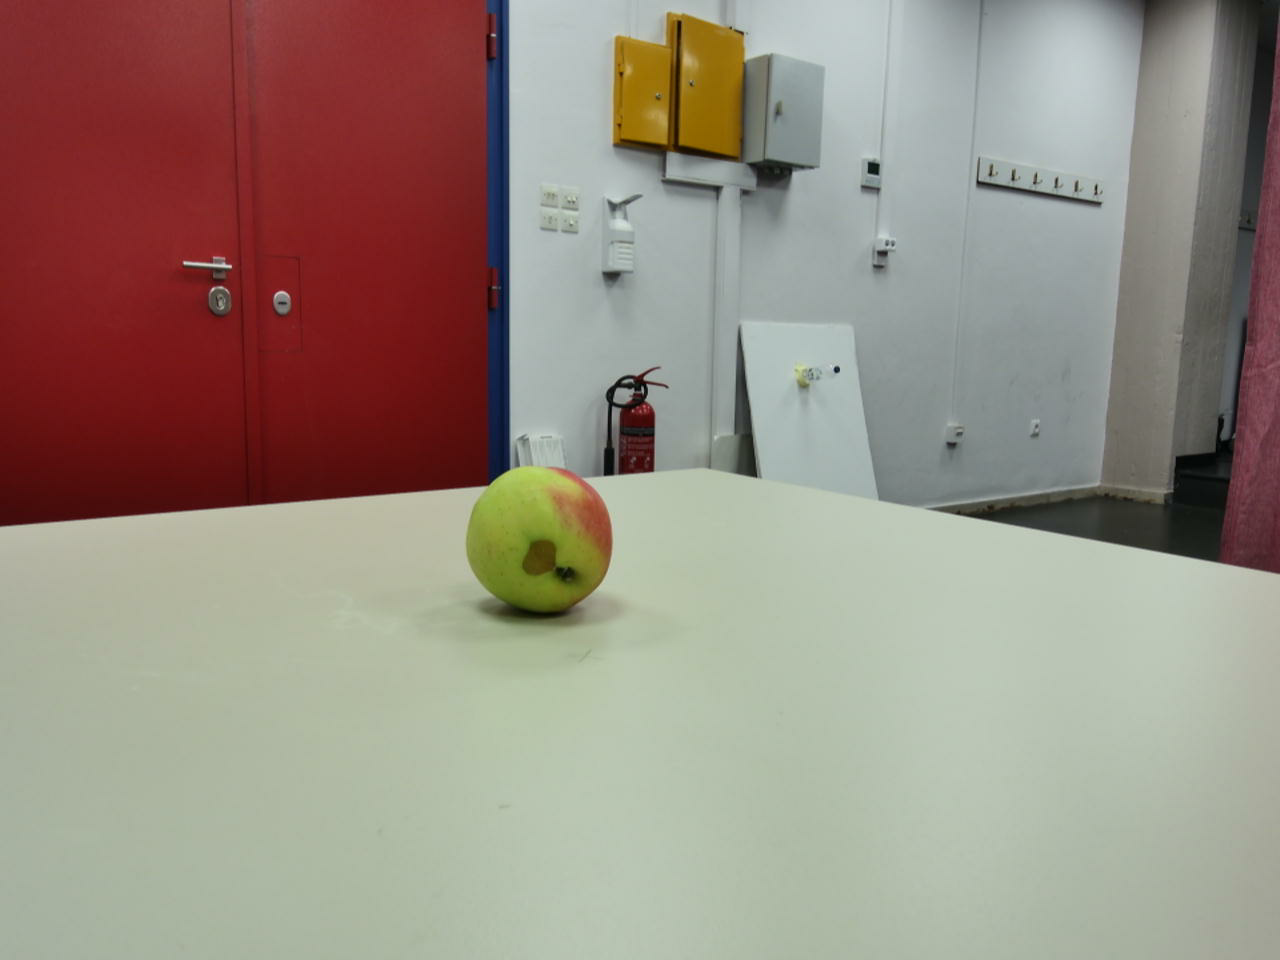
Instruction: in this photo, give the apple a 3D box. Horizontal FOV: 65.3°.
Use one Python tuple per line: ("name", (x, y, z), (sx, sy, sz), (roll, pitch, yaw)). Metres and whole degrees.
("apple", (-0.050, 0.030, 0.518), (0.075, 0.074, 0.075), (5, 8, 33))
